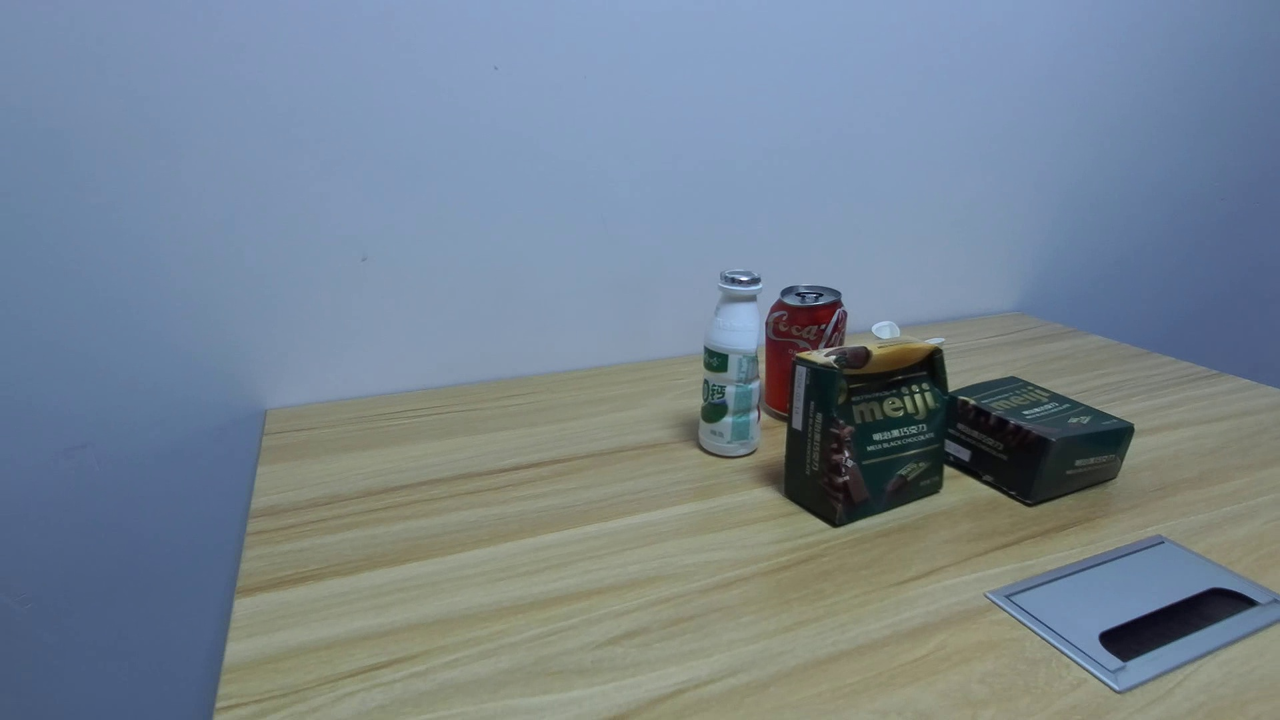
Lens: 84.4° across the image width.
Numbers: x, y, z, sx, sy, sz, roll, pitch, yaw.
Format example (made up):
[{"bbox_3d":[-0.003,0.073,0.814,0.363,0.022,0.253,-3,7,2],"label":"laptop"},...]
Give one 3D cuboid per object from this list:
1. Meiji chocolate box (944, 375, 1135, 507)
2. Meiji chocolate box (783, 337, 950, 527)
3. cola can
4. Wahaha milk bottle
[{"bbox_3d":[0.307,0.061,0.567,0.116,0.058,0.122,-6,21,-27],"label":"Meiji chocolate box"},{"bbox_3d":[0.165,0.046,0.507,0.118,0.117,0.051,-8,14,-28],"label":"Meiji chocolate box"},{"bbox_3d":[0.151,-0.001,0.634,0.066,0.117,0.072,2,10,-33],"label":"cola can"},{"bbox_3d":[0.077,0.003,0.564,0.056,0.147,0.056,2,18,0],"label":"Wahaha milk bottle"}]
